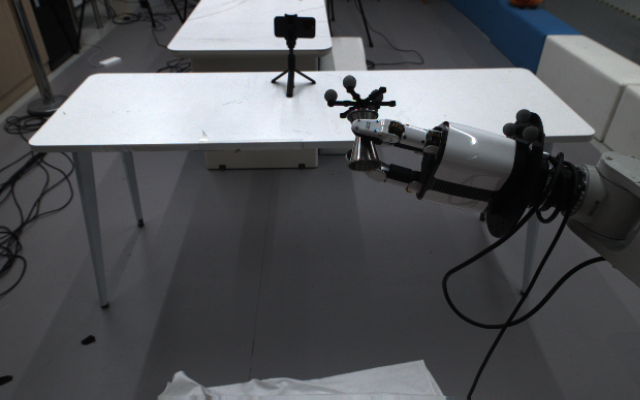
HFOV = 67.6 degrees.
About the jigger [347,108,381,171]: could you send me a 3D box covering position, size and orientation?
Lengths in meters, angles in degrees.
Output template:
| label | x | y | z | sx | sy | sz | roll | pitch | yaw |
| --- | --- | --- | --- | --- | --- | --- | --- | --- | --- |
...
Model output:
| label | x | y | z | sx | sy | sz | roll | pitch | yaw |
| --- | --- | --- | --- | --- | --- | --- | --- | --- | --- |
| jigger | 0.055 | -0.077 | 0.607 | 0.043 | 0.043 | 0.071 | 0 | 75 | -3 |
